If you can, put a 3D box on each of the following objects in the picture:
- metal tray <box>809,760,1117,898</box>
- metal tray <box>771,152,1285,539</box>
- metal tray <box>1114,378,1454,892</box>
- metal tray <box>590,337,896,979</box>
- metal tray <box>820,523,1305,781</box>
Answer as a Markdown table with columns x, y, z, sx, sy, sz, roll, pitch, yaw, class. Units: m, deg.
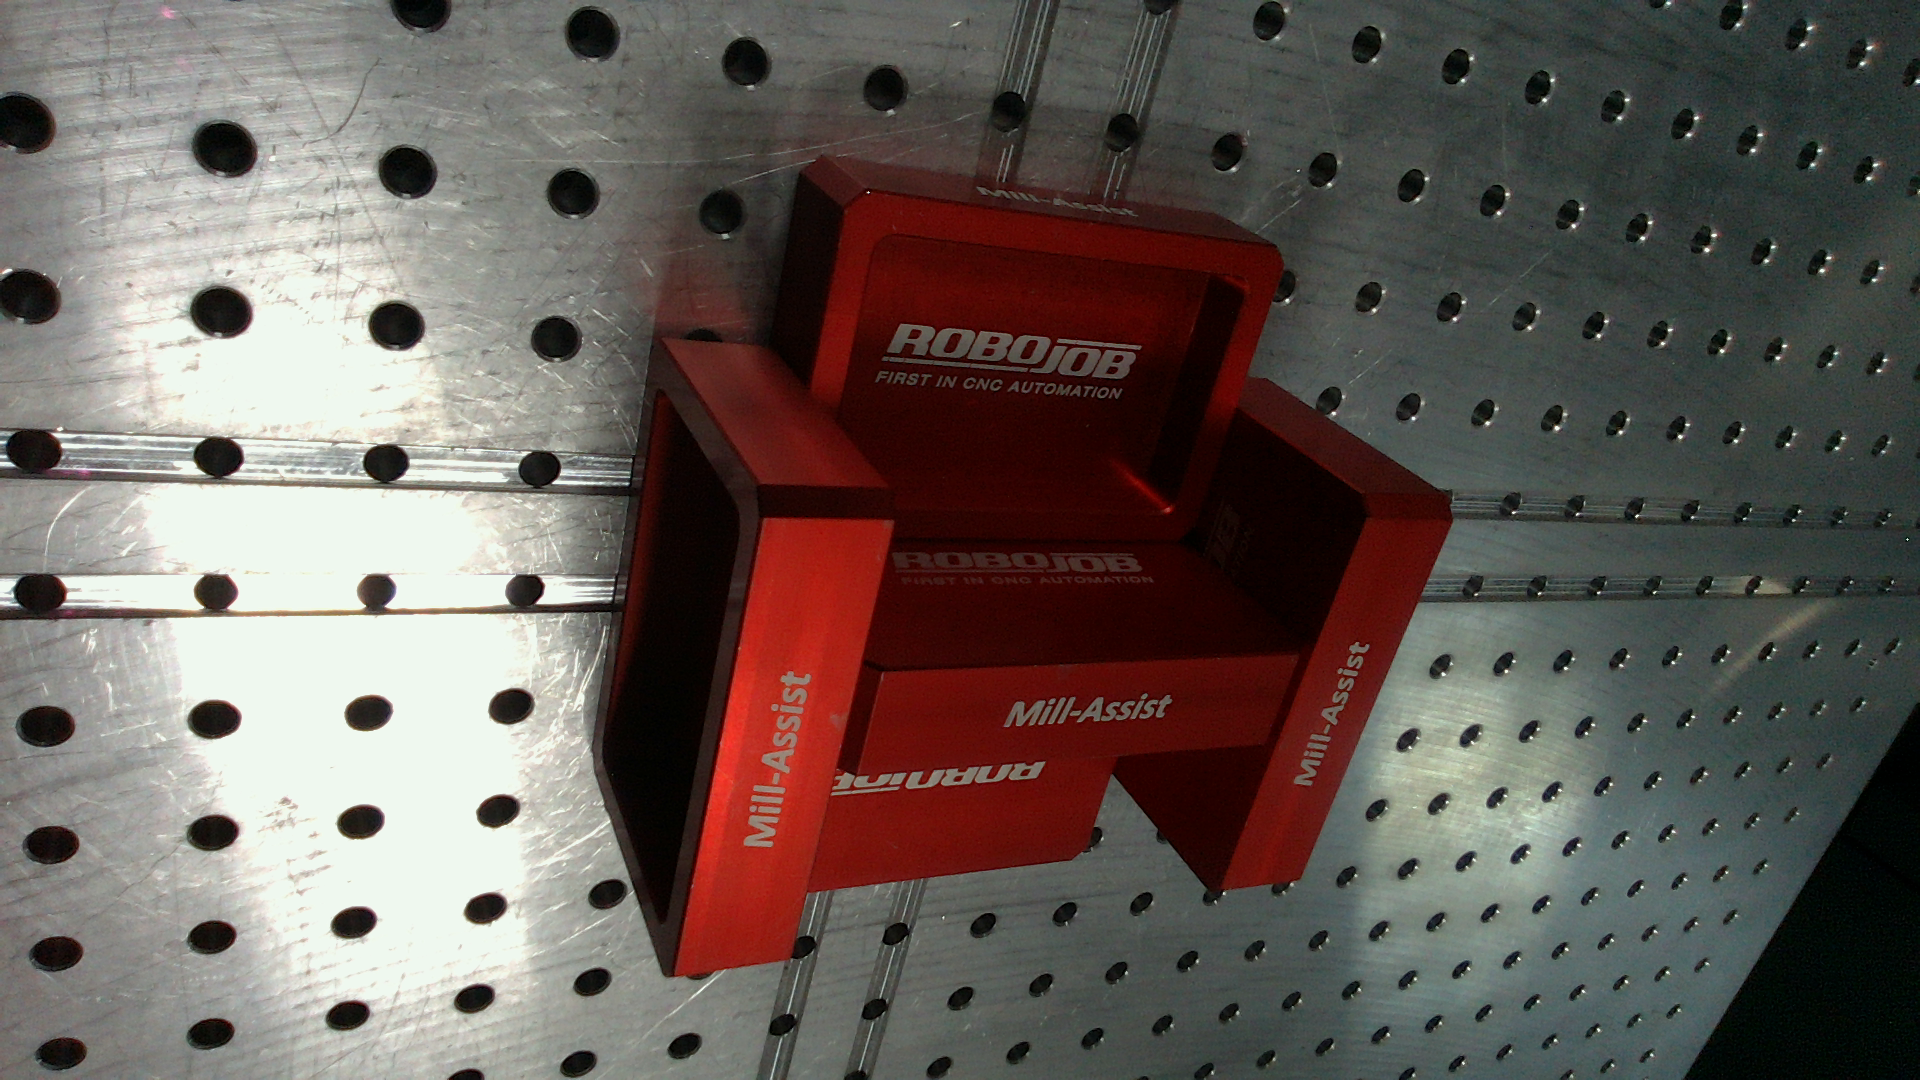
| x | y | z | sx | sy | sz | roll | pitch | yaw | class |
| --- | --- | --- | --- | --- | --- | --- | --- | --- | --- |
| -0.012 | 0.061 | 0.418 | 0.130 | 0.030 | 0.090 | 0 | 118 | -29 | metal tray |
| 0.016 | -0.047 | 0.368 | 0.130 | 0.030 | 0.090 | 0 | 118 | -29 | metal tray |
| 0.084 | 0.026 | 0.411 | 0.030 | 0.090 | 0.130 | 1 | 118 | -28 | metal tray |
| -0.059 | 0.027 | 0.335 | 0.030 | 0.090 | 0.130 | 1 | 118 | -28 | metal tray |
| 0.014 | 0.021 | 0.369 | 0.130 | 0.090 | 0.030 | 1 | 118 | -29 | metal tray |
